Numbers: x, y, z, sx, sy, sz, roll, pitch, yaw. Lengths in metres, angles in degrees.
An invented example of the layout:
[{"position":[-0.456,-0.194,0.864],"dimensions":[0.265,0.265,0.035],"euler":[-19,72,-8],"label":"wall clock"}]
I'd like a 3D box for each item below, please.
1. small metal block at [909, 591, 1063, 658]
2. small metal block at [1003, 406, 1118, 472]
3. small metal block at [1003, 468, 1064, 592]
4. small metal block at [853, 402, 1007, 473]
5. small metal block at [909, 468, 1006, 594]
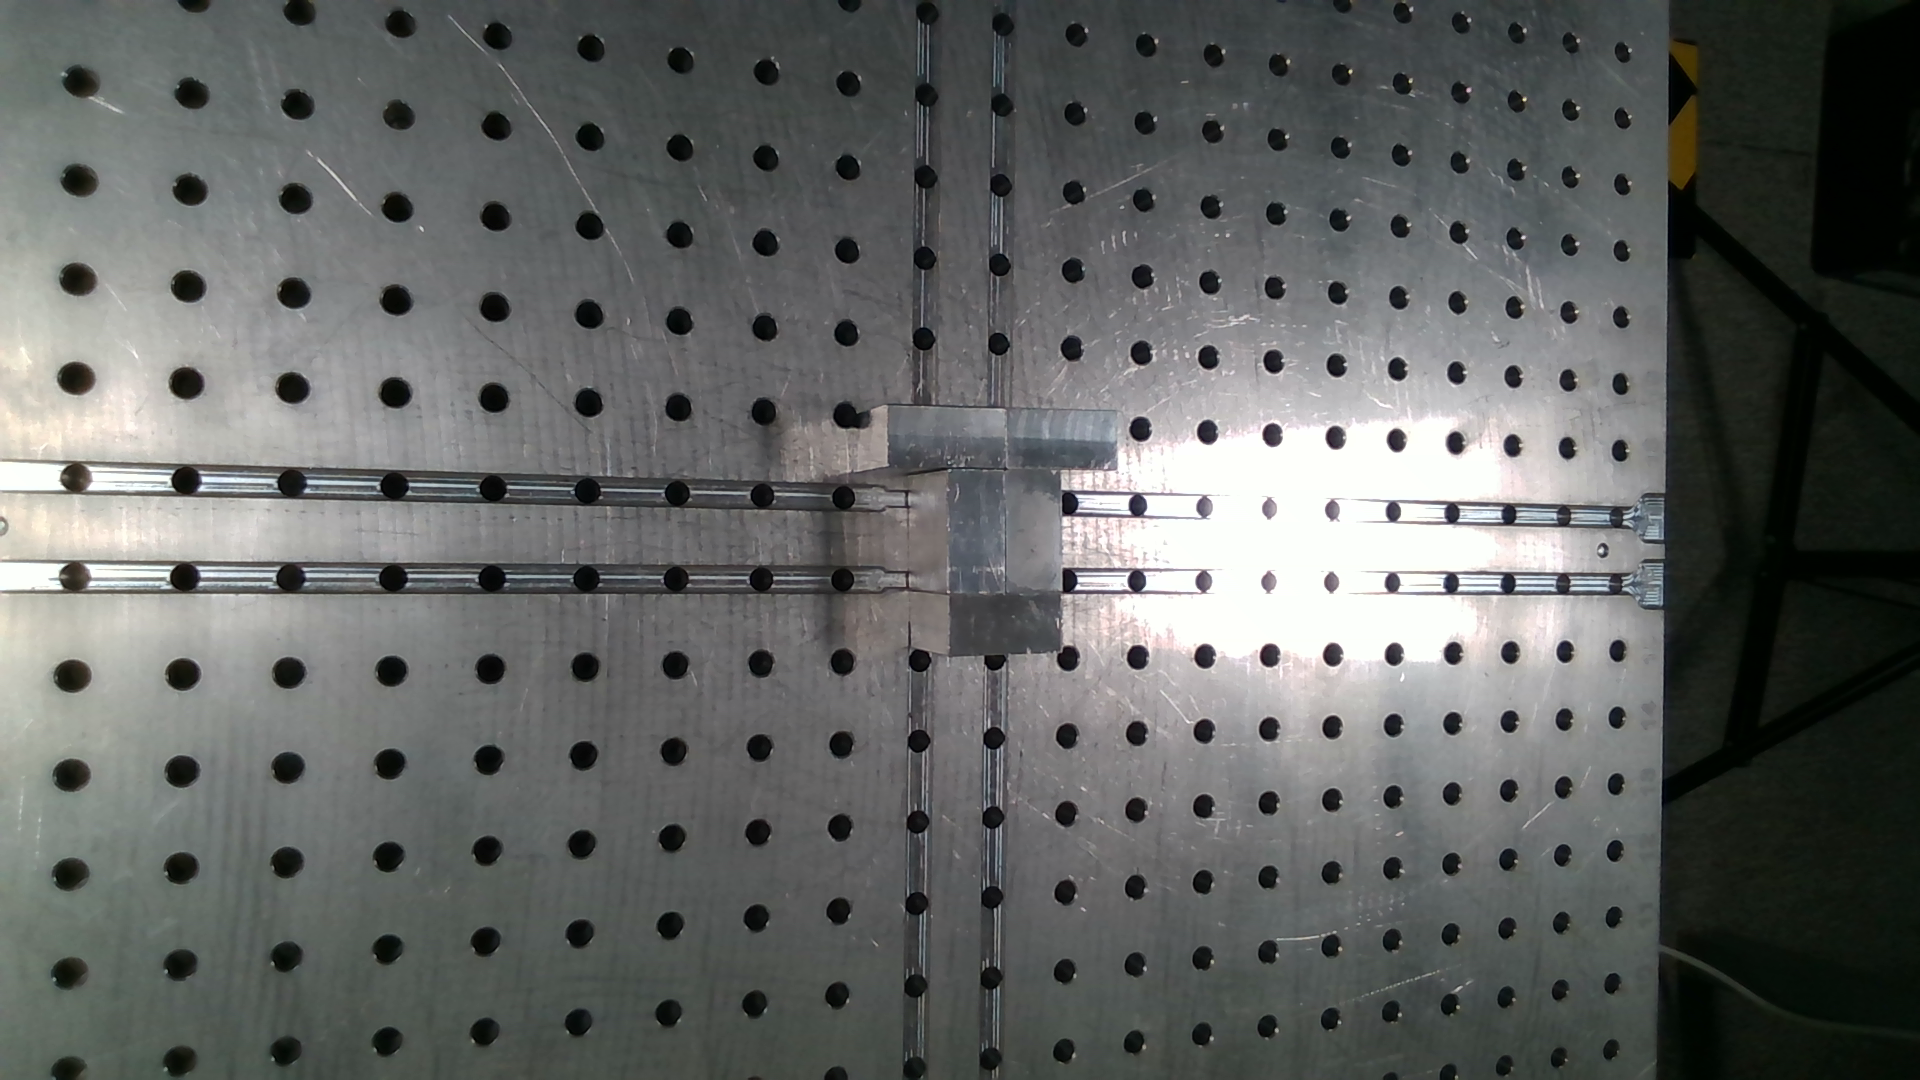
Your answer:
[{"position":[0.010,0.034,0.578],"dimensions":[0.050,0.050,0.025],"euler":[0,90,-20],"label":"small metal block"},{"position":[0.034,-0.041,0.587],"dimensions":[0.050,0.050,0.025],"euler":[0,90,-20],"label":"small metal block"},{"position":[0.022,-0.004,0.582],"dimensions":[0.025,0.050,0.050],"euler":[0,90,-20],"label":"small metal block"},{"position":[-0.013,-0.041,0.569],"dimensions":[0.050,0.050,0.025],"euler":[0,90,-20],"label":"small metal block"},{"position":[-0.002,-0.004,0.574],"dimensions":[0.025,0.050,0.050],"euler":[0,90,-20],"label":"small metal block"}]
